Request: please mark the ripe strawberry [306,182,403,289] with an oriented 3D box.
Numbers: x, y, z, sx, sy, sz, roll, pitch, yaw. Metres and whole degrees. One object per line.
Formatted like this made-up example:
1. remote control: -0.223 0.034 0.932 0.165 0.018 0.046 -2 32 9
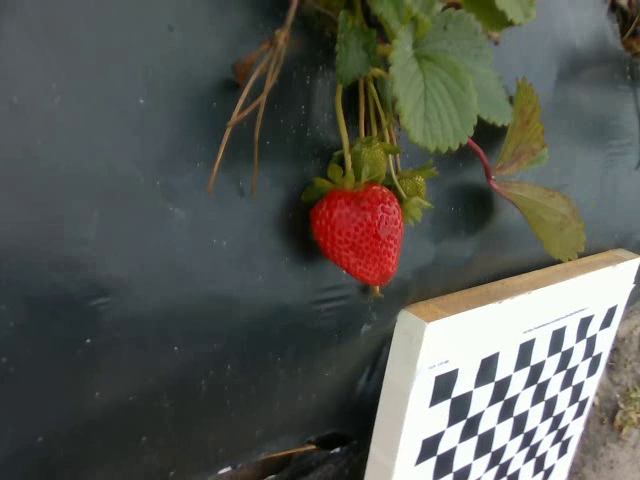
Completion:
1. ripe strawberry: 0.007 0.000 0.076 0.014 0.017 0.018 -30 -14 34
